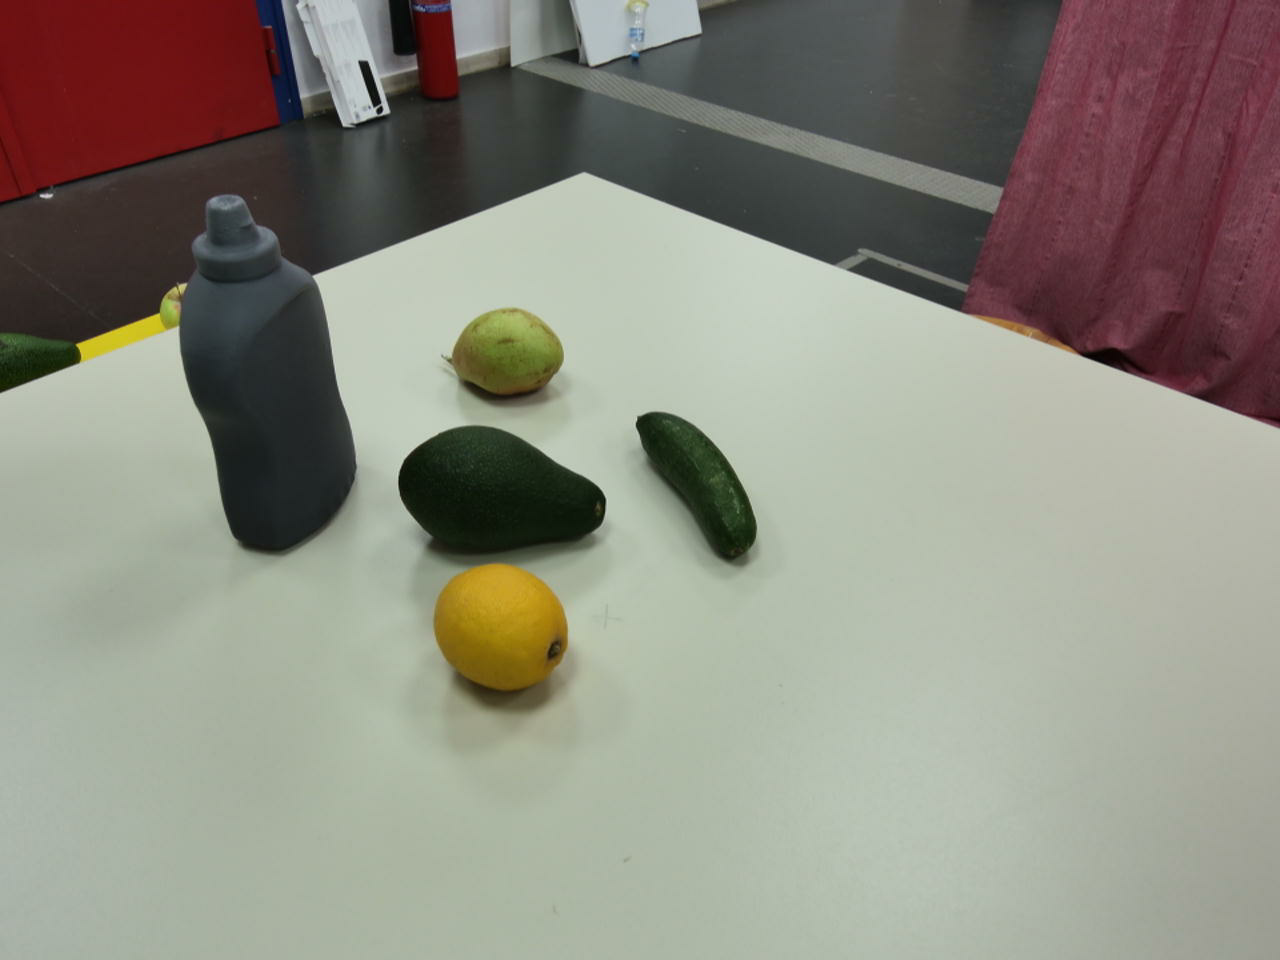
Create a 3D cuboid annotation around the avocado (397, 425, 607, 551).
[{"bbox_3d":[-0.078,0.007,0.562,0.110,0.071,0.072,13,38,14],"label":"avocado"}]
